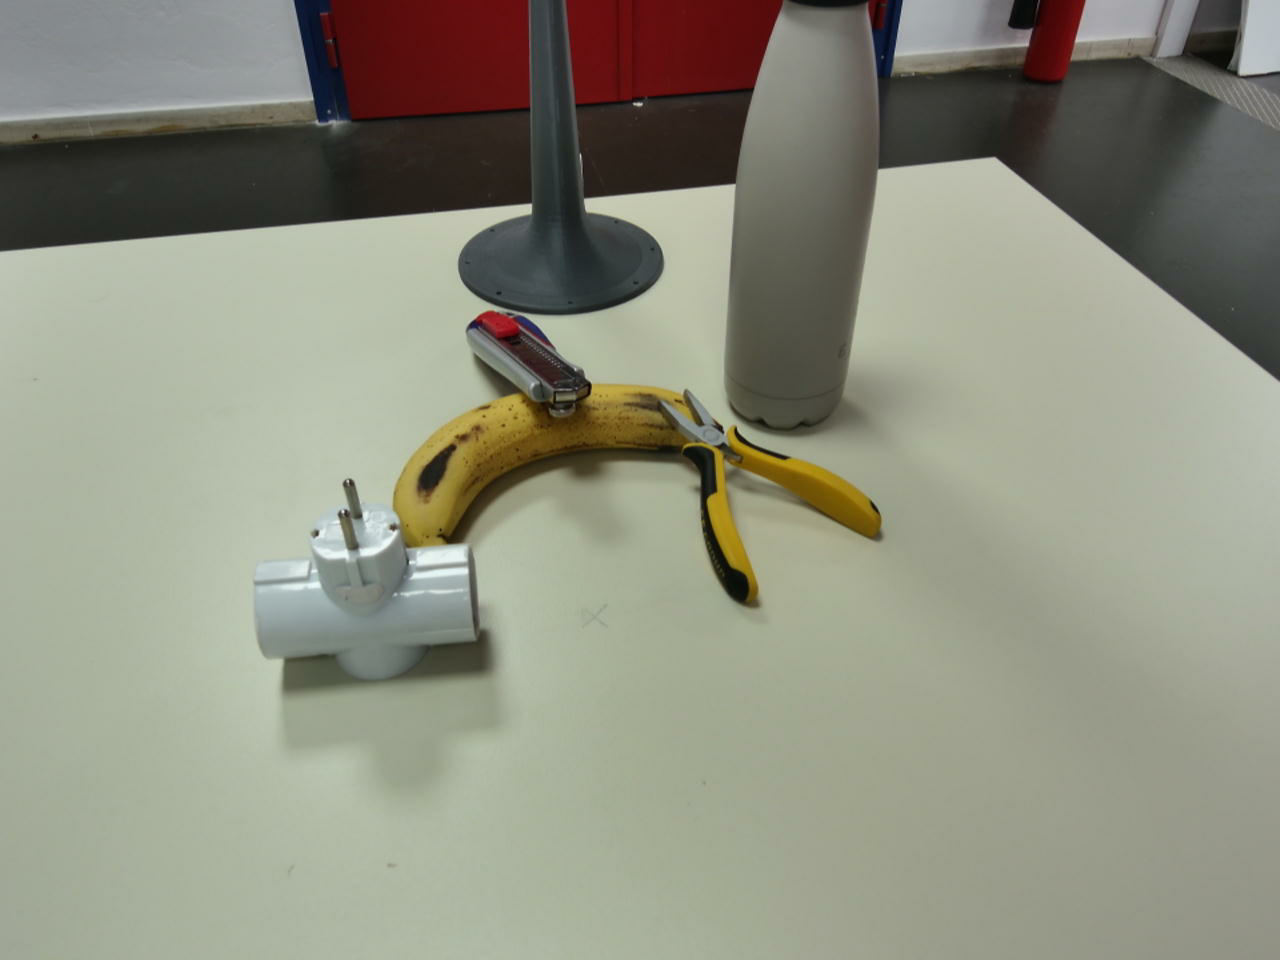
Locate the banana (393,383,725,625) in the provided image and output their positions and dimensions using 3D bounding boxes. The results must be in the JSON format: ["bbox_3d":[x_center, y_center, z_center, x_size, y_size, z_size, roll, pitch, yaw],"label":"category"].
[{"bbox_3d":[-0.052,-0.011,0.529,0.186,0.038,0.097,-28,47,-31],"label":"banana"}]
